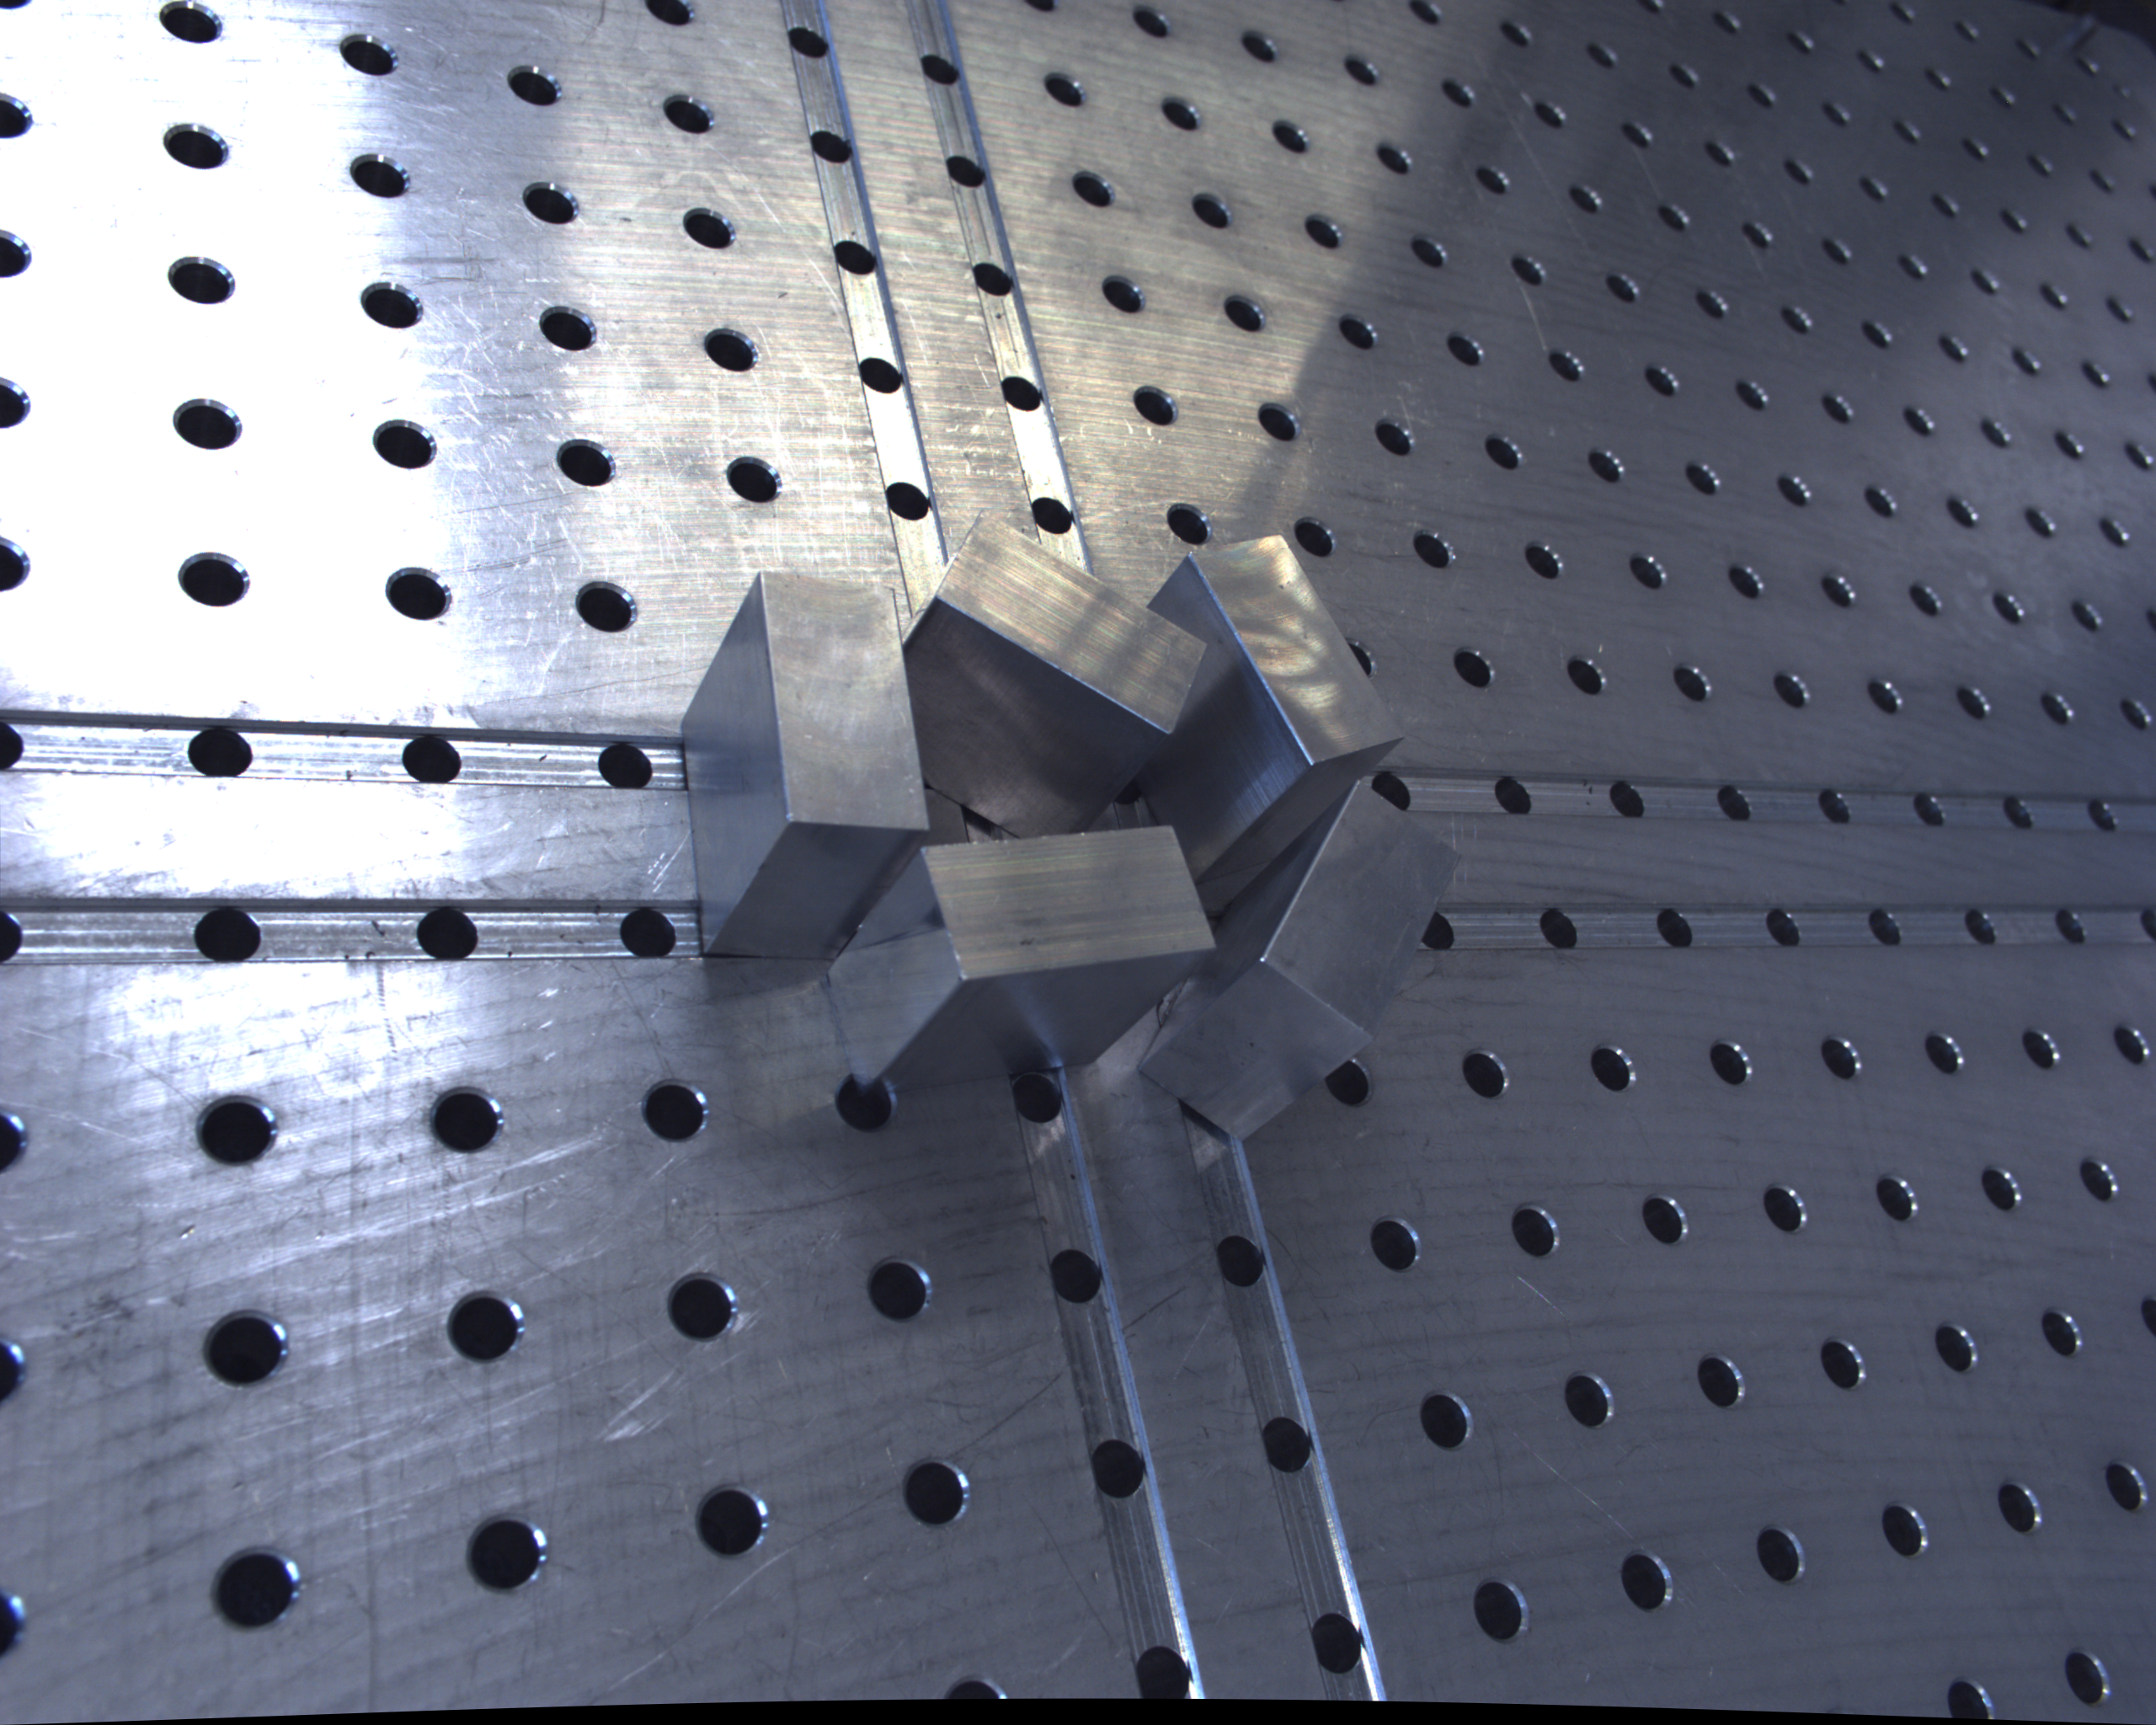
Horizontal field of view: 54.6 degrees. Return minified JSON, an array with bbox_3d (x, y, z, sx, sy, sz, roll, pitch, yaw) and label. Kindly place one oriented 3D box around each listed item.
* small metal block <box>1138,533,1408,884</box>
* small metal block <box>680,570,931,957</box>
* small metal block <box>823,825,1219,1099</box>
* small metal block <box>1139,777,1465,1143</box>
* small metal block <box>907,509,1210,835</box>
[{"bbox_3d":[0.033,-0.031,0.427,0.025,0.050,0.050,-17,70,-35],"label":"small metal block"},{"bbox_3d":[-0.050,-0.016,0.374,0.025,0.050,0.050,3,61,-26],"label":"small metal block"},{"bbox_3d":[-0.011,0.018,0.374,0.050,0.050,0.025,-5,64,-31],"label":"small metal block"},{"bbox_3d":[0.043,0.019,0.402,0.025,0.050,0.050,36,51,-3],"label":"small metal block"},{"bbox_3d":[-0.011,-0.033,0.406,0.050,0.050,0.025,30,53,-10],"label":"small metal block"}]
